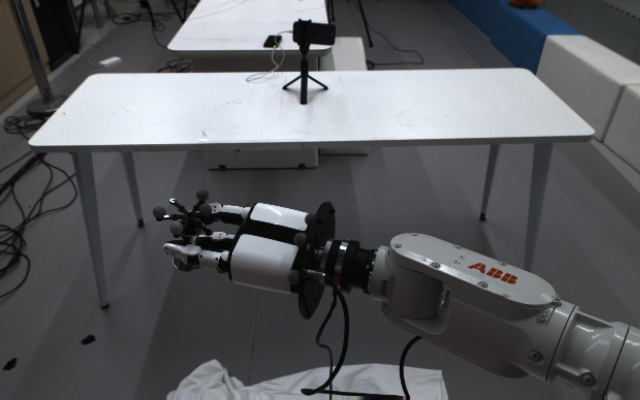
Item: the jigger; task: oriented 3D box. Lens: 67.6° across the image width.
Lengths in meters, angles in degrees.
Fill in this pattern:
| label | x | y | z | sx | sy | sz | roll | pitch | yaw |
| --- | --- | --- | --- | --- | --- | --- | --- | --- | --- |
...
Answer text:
| label | x | y | z | sx | sy | sz | roll | pitch | yaw |
| --- | --- | --- | --- | --- | --- | --- | --- | --- | --- |
| jigger | -0.186 | 0.062 | 0.690 | 0.043 | 0.071 | 0.043 | 10 | 36 | -7 |
